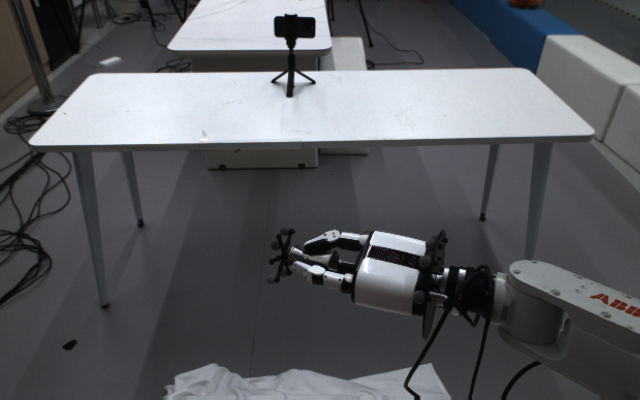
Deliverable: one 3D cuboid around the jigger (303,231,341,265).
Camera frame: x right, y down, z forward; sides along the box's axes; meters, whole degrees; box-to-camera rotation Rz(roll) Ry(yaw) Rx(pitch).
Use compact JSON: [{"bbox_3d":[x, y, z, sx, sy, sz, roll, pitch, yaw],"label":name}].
[{"bbox_3d":[-0.005,0.091,0.746,0.071,0.043,0.043,8,34,23],"label":"jigger"}]
